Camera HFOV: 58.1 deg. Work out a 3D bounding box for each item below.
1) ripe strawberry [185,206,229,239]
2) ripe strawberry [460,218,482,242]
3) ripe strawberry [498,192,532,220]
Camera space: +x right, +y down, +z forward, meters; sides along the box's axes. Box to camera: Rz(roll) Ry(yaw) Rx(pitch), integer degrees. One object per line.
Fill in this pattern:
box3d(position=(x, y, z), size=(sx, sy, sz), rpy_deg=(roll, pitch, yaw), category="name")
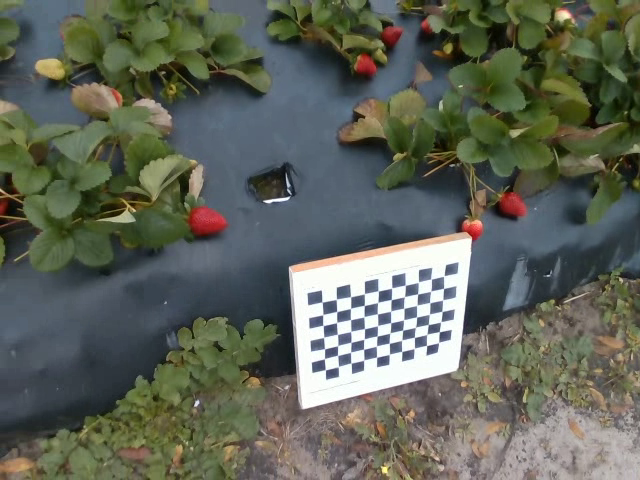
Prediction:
box3d(position=(-0.167, -0.025, 0.845), size=(0.064, 0.046, 0.048), rpy_deg=(13, 35, 12), category="ripe strawberry")
box3d(position=(0.245, -0.016, 0.916), size=(0.036, 0.040, 0.027), rpy_deg=(-6, 12, -3), category="ripe strawberry")
box3d(position=(0.312, -0.058, 0.929), size=(0.059, 0.044, 0.041), rpy_deg=(41, 22, -8), category="ripe strawberry")
